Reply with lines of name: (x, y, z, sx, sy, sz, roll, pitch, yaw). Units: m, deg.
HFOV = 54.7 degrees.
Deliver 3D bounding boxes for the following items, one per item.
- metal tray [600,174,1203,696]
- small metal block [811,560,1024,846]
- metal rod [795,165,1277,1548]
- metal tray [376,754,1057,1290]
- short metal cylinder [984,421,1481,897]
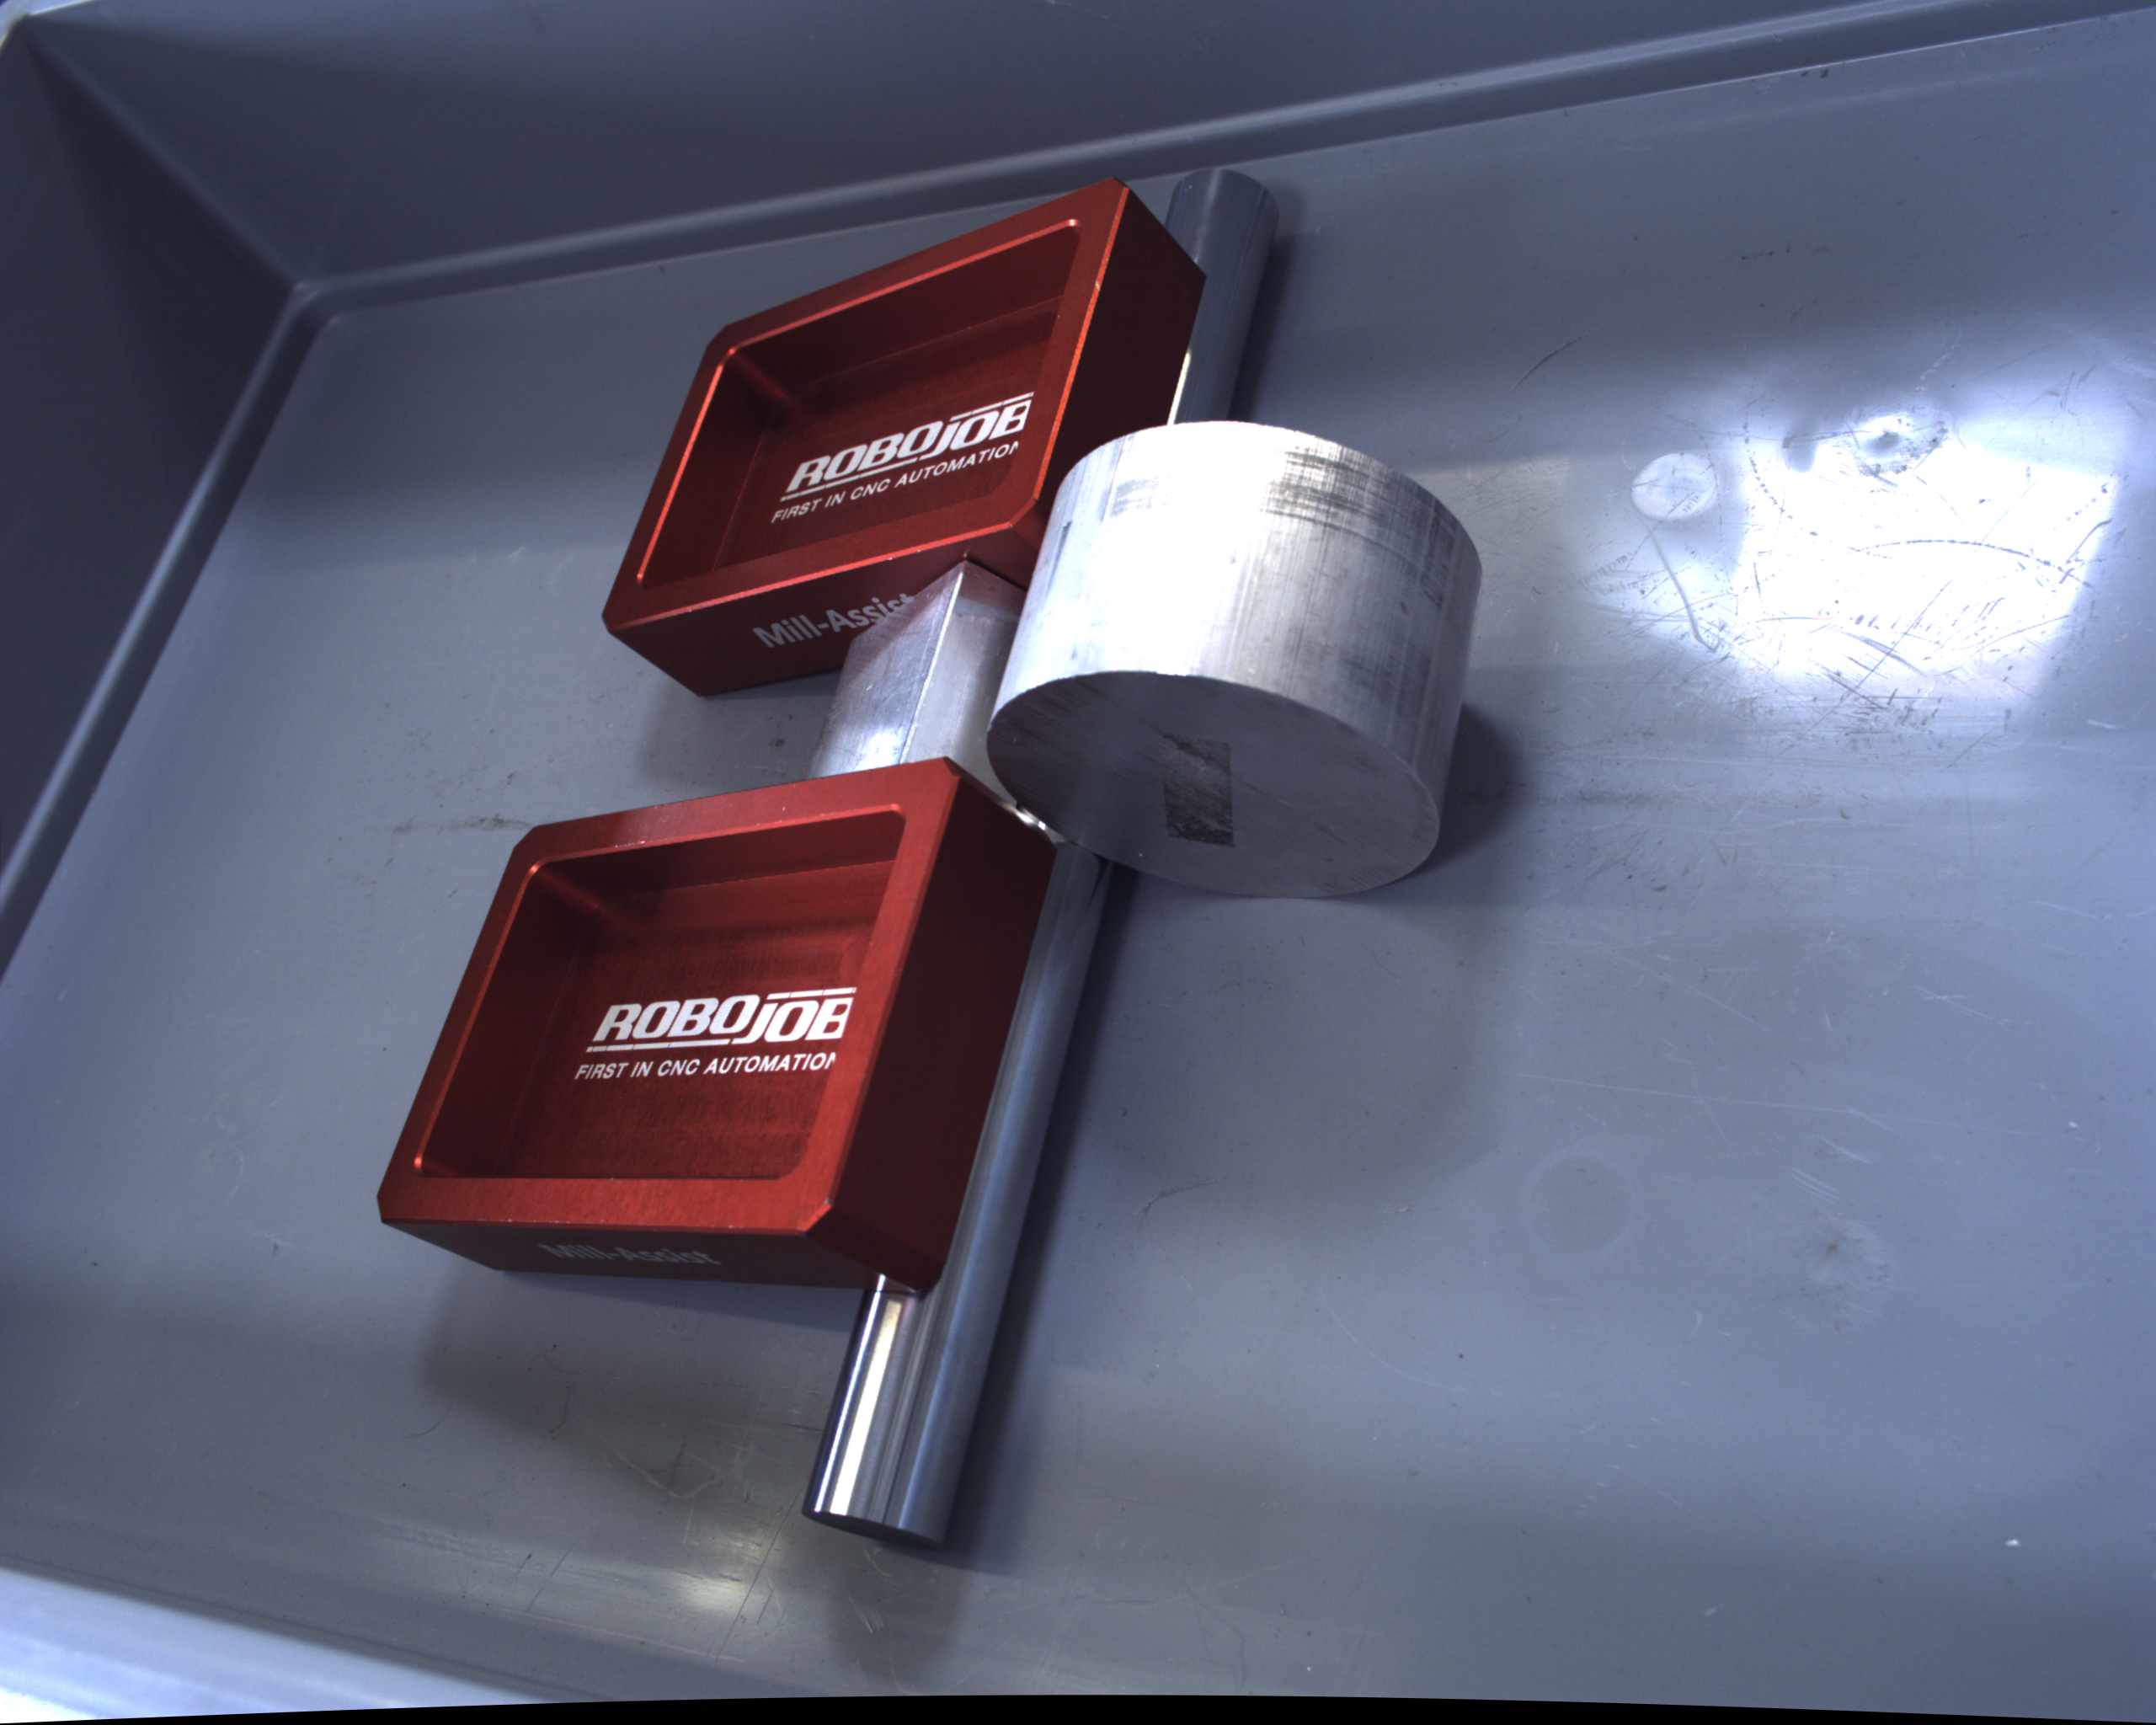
metal tray: (-0.041, -0.091, 0.460, 0.130, 0.030, 0.090, -7, 58, 39)
small metal block: (-0.031, -0.026, 0.422, 0.050, 0.025, 0.050, -23, 45, 54)
metal rod: (-0.001, -0.019, 0.415, 0.025, 0.025, 0.300, 0, 62, 28)
metal tray: (-0.072, 0.032, 0.401, 0.130, 0.030, 0.090, -7, 58, 39)
short metal cylinder: (0.028, -0.034, 0.375, 0.080, 0.080, 0.050, 0, 62, 28)
